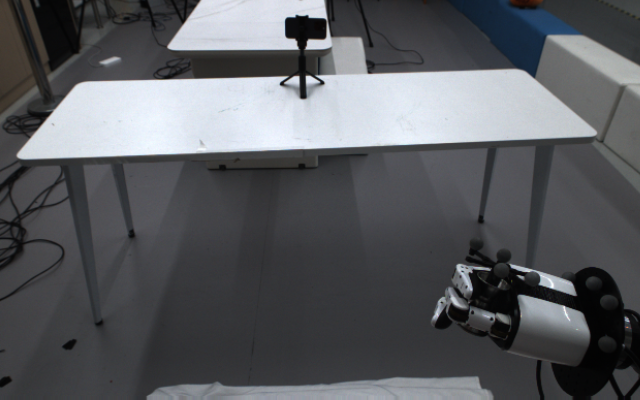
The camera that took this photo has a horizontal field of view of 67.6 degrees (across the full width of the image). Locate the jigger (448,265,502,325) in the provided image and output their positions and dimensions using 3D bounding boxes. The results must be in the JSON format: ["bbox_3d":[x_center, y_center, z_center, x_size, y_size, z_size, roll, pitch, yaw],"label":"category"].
[{"bbox_3d":[0.200,0.127,0.597,0.043,0.071,0.043,18,17,-6],"label":"jigger"}]
